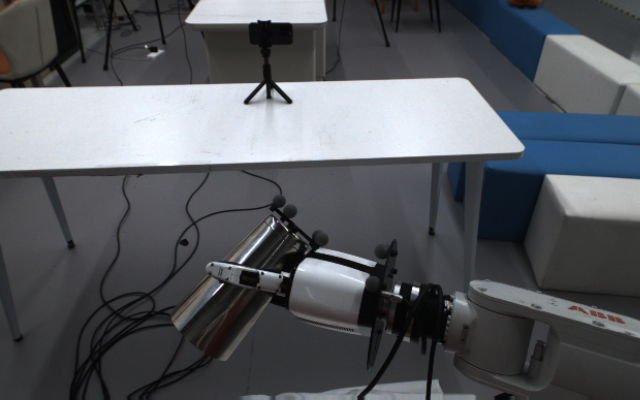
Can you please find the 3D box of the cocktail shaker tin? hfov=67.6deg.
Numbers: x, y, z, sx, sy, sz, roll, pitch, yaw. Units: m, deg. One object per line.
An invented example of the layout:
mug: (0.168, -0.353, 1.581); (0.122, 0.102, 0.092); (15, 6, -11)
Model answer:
cocktail shaker tin: (-0.092, 0.100, 0.606); (0.170, 0.093, 0.093); (-48, 49, -4)
